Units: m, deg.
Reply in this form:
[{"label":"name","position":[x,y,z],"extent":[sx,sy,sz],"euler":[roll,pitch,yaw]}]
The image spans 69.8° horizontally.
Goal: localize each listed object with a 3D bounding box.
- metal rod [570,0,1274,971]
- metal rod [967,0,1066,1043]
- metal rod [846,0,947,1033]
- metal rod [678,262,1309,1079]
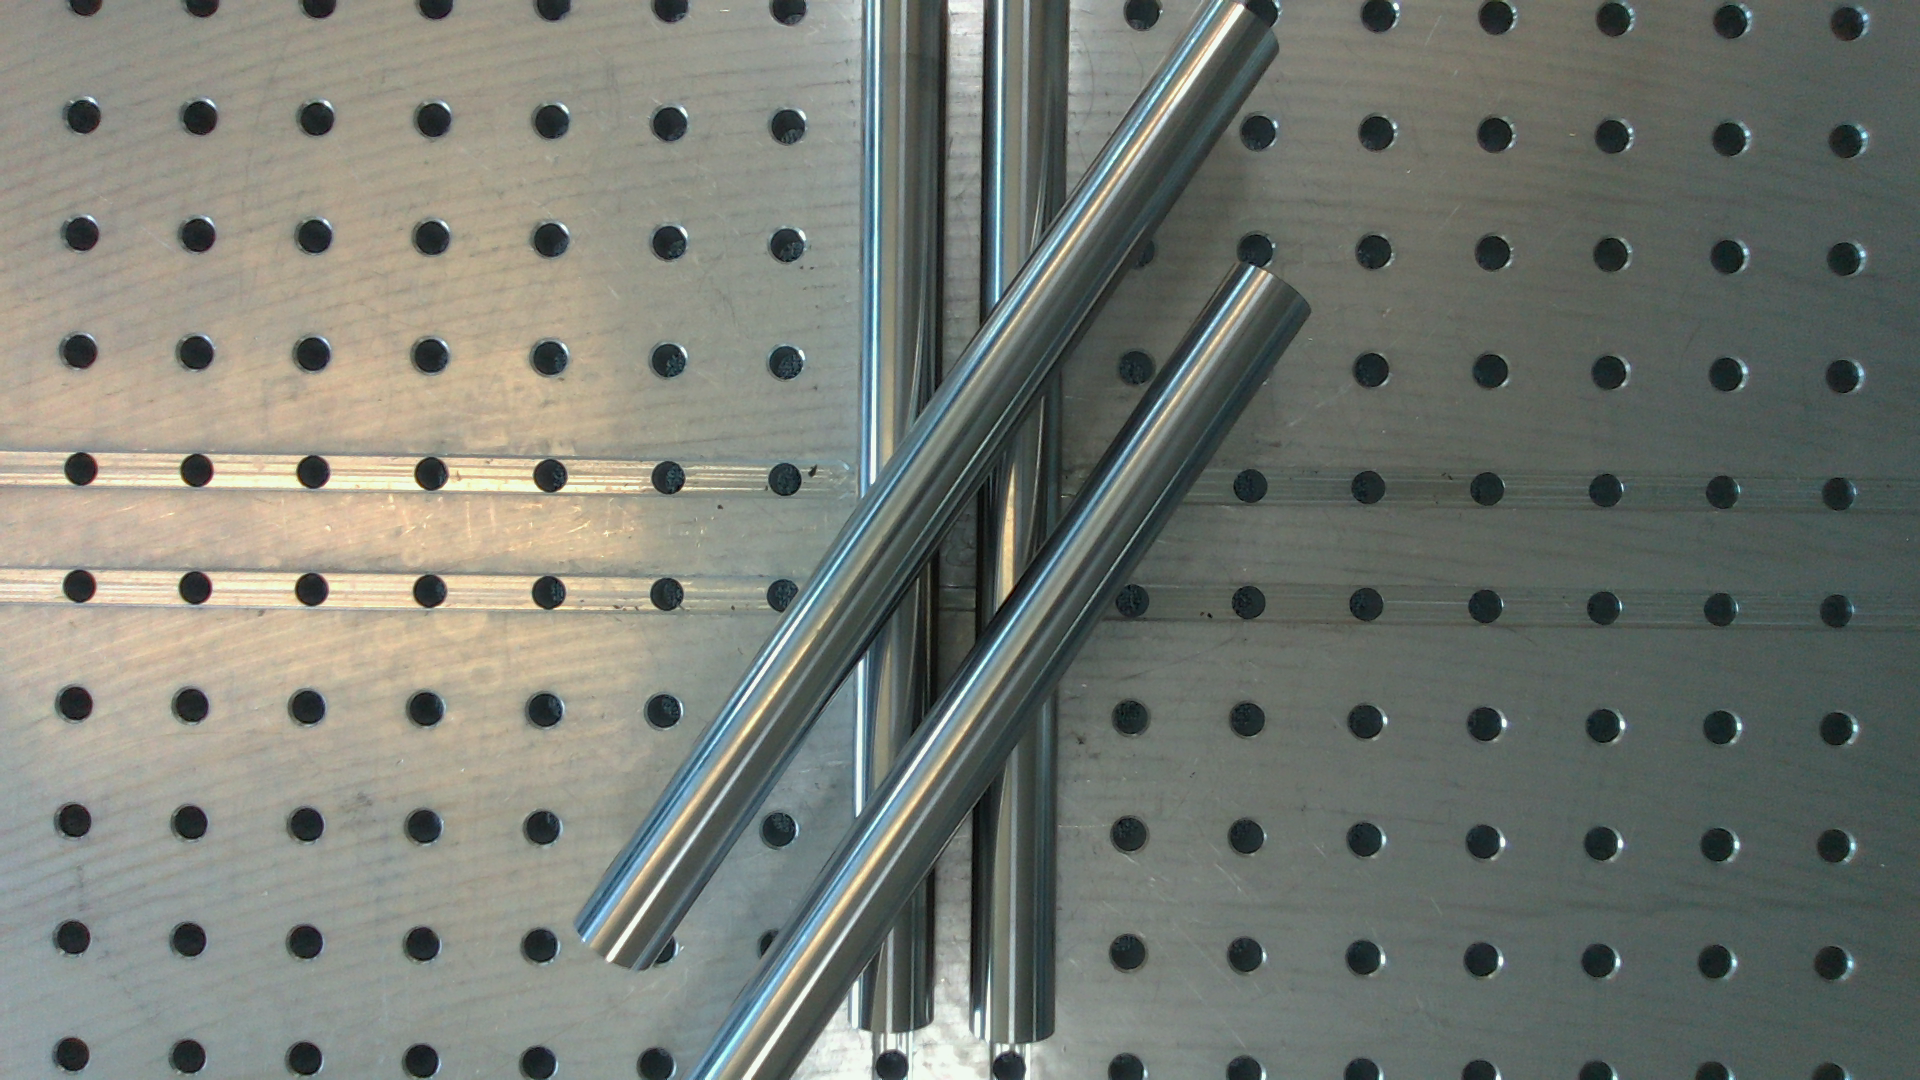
[{"label":"metal rod","position":[-0.010,-0.015,0.373],"extent":[0.025,0.025,0.300],"euler":[34,90,0]},{"label":"metal rod","position":[0.016,-0.009,0.398],"extent":[0.025,0.025,0.300],"euler":[1,90,0]},{"label":"metal rod","position":[-0.018,-0.012,0.398],"extent":[0.025,0.025,0.300],"euler":[1,90,0]},{"label":"metal rod","position":[0.000,0.056,0.373],"extent":[0.025,0.025,0.300],"euler":[34,90,0]}]
